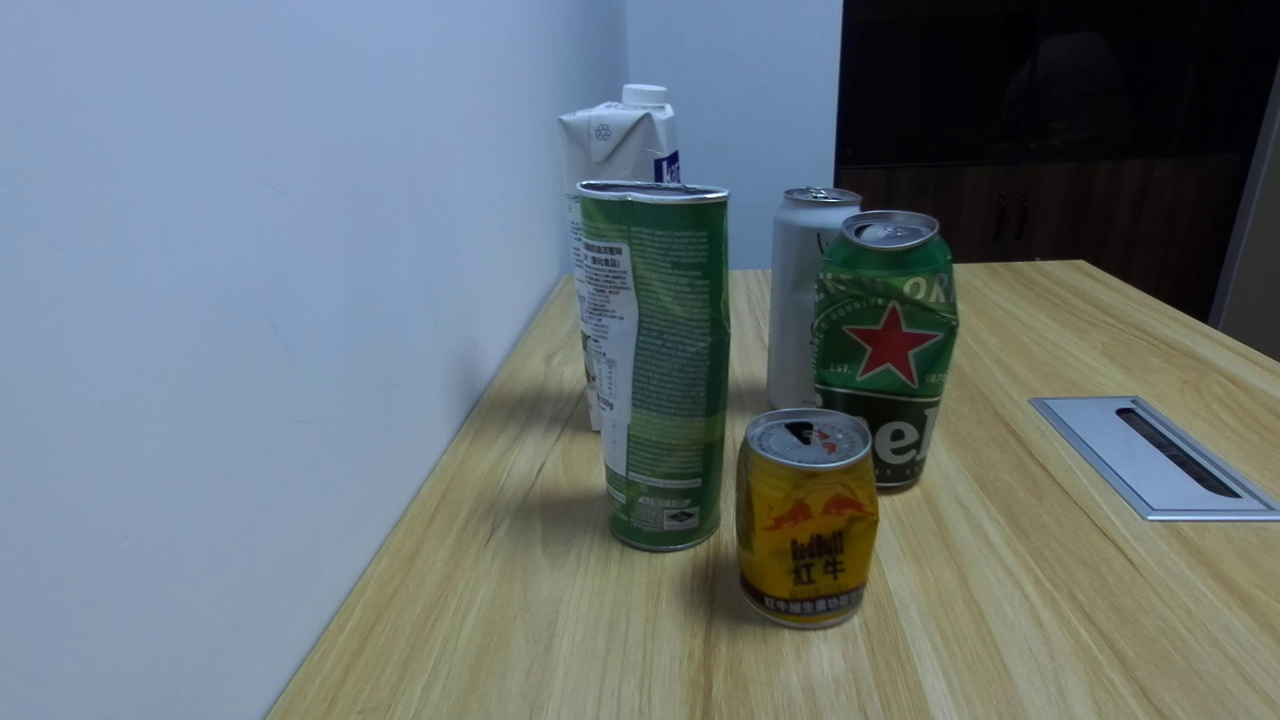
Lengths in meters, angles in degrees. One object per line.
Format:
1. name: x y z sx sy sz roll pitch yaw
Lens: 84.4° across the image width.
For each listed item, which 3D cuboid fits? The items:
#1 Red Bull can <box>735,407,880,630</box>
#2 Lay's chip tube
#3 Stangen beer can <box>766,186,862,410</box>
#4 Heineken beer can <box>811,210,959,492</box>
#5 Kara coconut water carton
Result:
1. Red Bull can: 0.082 0.075 0.352 0.072 0.092 0.072 -3 24 2
2. Lay's chip tube: 0.009 0.006 0.392 0.075 0.199 0.069 -4 23 -3
3. Stangen beer can: 0.134 -0.042 0.531 0.070 0.173 0.069 -12 23 -26
4. Heineken beer can: 0.148 -0.002 0.436 0.069 0.168 0.068 -14 26 -20
5. Kara coconut water carton: -0.007 -0.068 0.512 0.075 0.245 0.077 0 23 11
